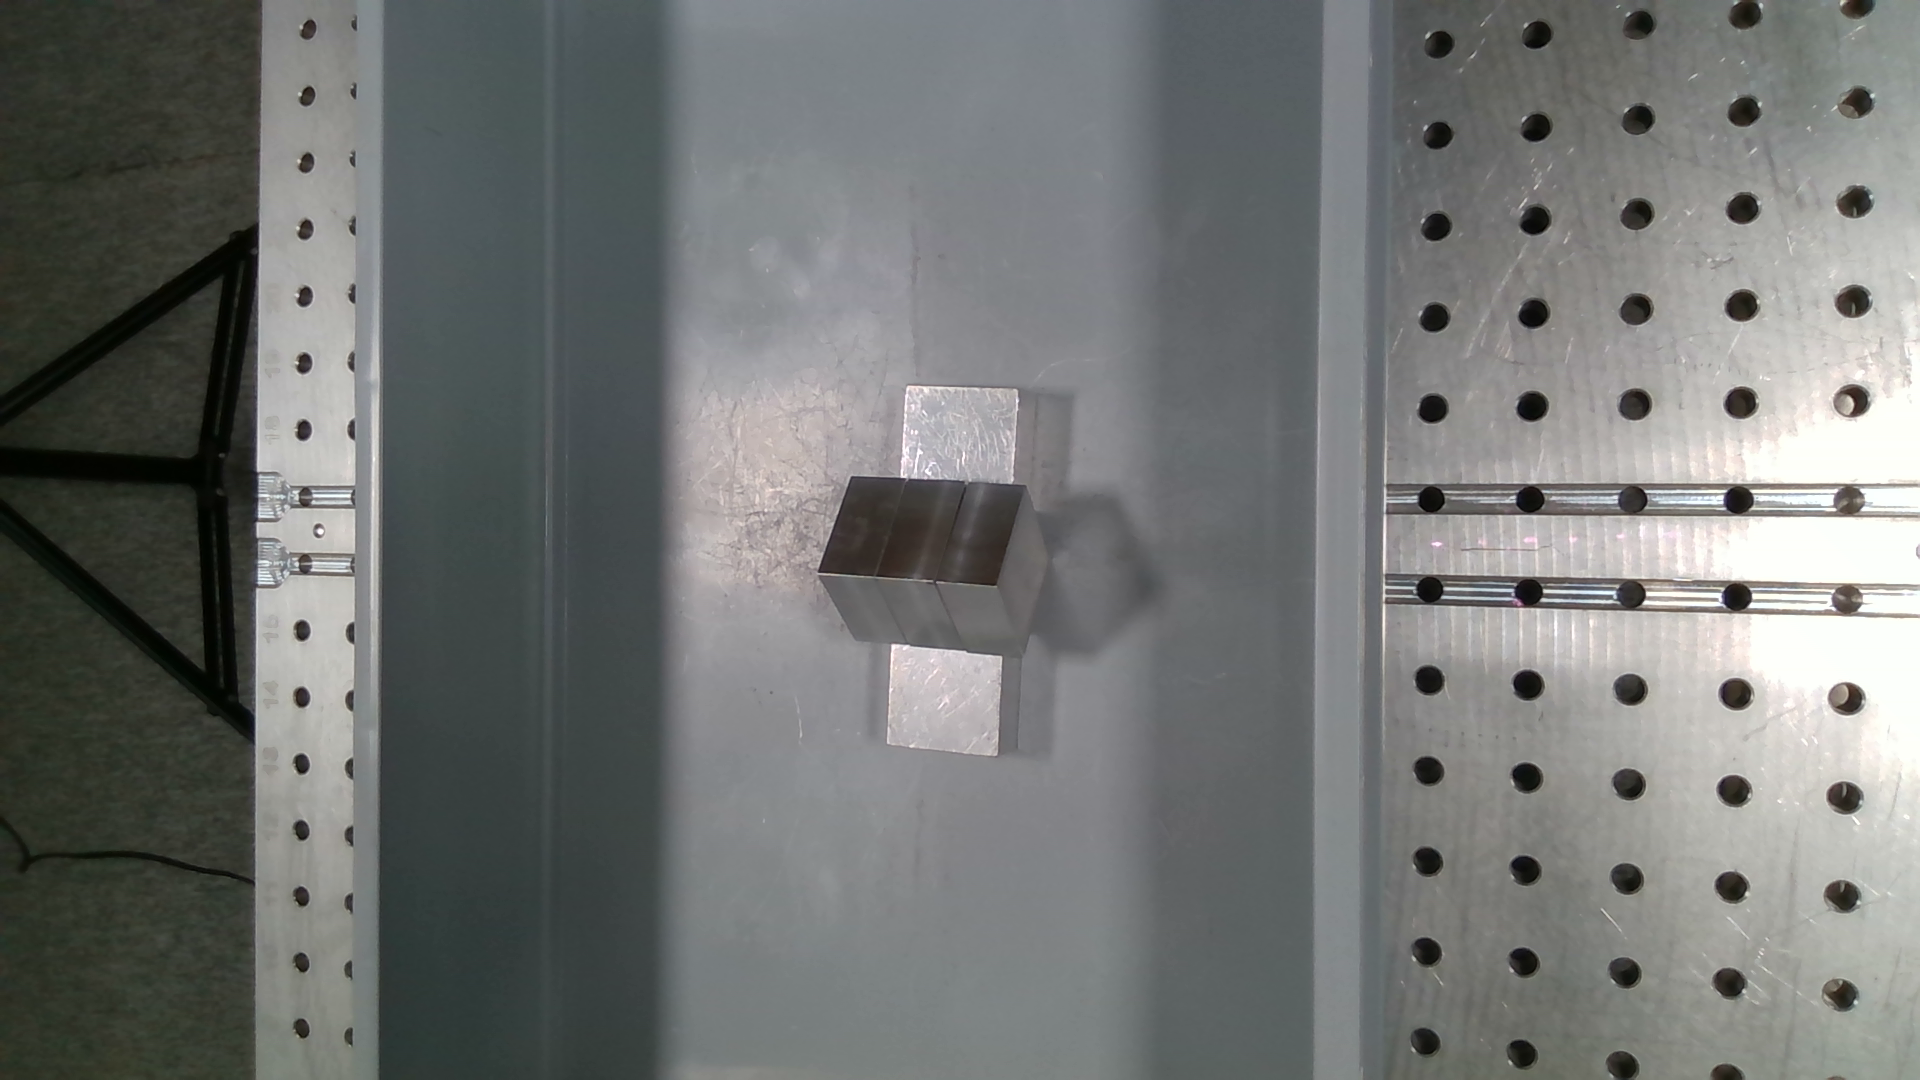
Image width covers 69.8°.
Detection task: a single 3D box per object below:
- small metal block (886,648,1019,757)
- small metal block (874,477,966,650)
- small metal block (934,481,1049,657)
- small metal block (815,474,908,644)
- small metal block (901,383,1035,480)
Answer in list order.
[{"bbox_3d":[-0.003,0.063,0.586,0.050,0.025,0.050,3,92,20],"label":"small metal block"},{"bbox_3d":[-0.010,0.010,0.564,0.025,0.050,0.050,3,55,20],"label":"small metal block"},{"bbox_3d":[0.014,0.012,0.555,0.025,0.050,0.050,4,55,20],"label":"small metal block"},{"bbox_3d":[-0.034,0.008,0.573,0.025,0.050,0.050,3,55,20],"label":"small metal block"},{"bbox_3d":[0.003,-0.040,0.583,0.050,0.025,0.050,4,92,20],"label":"small metal block"}]
